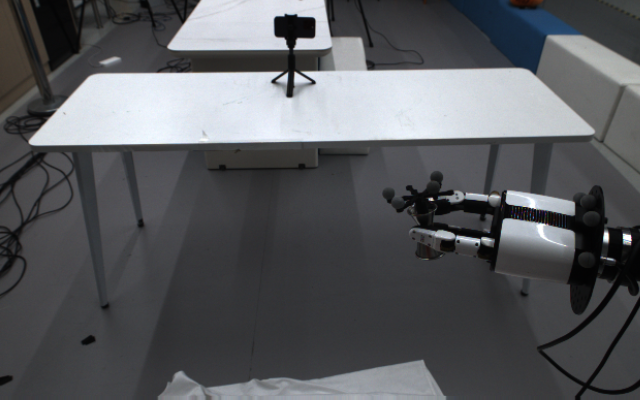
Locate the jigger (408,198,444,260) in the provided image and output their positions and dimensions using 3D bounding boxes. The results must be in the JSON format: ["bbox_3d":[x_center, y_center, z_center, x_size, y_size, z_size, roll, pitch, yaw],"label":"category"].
[{"bbox_3d":[0.145,0.041,0.656,0.043,0.071,0.043,-14,21,6],"label":"jigger"}]
